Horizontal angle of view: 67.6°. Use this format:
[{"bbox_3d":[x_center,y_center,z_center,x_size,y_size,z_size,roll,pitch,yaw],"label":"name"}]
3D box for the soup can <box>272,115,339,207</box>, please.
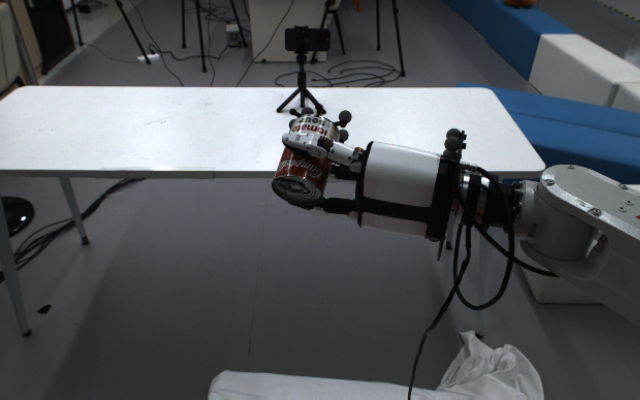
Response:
[{"bbox_3d":[-0.016,-0.054,0.631,0.067,0.067,0.101,9,60,10],"label":"soup can"}]
